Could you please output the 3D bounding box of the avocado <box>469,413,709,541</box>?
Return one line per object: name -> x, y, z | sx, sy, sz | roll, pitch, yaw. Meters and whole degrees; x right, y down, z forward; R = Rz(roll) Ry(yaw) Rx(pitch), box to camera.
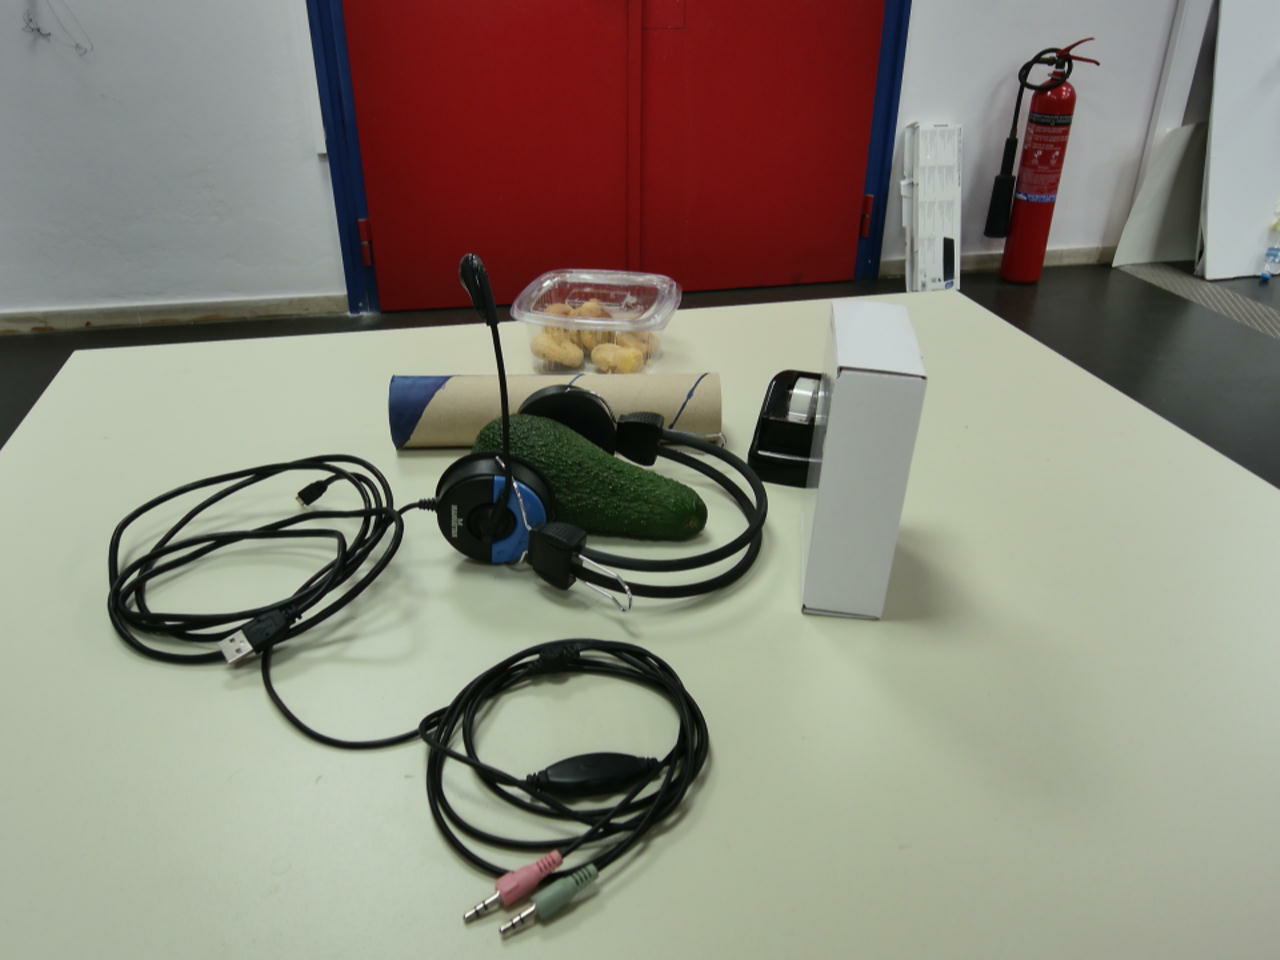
avocado -> -0.028, -0.004, 0.575 | 0.141, 0.067, 0.063 | 1, 27, 2
